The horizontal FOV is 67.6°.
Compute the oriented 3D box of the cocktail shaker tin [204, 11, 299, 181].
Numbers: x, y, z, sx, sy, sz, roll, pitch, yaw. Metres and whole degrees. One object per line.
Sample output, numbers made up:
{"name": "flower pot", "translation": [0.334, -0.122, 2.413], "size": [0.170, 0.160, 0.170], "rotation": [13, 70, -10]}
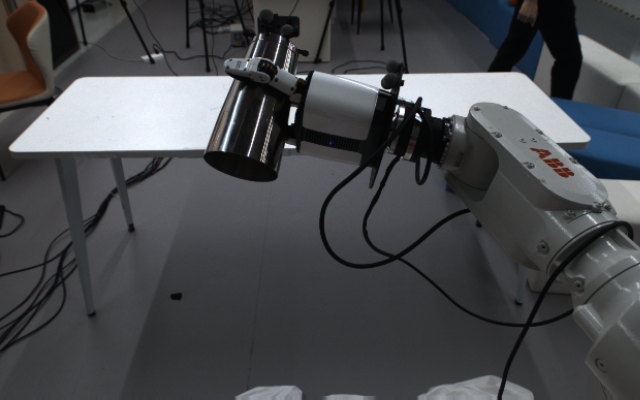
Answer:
{"name": "cocktail shaker tin", "translation": [-0.078, -0.117, 0.605], "size": [0.093, 0.093, 0.170], "rotation": [10, 73, 11]}
